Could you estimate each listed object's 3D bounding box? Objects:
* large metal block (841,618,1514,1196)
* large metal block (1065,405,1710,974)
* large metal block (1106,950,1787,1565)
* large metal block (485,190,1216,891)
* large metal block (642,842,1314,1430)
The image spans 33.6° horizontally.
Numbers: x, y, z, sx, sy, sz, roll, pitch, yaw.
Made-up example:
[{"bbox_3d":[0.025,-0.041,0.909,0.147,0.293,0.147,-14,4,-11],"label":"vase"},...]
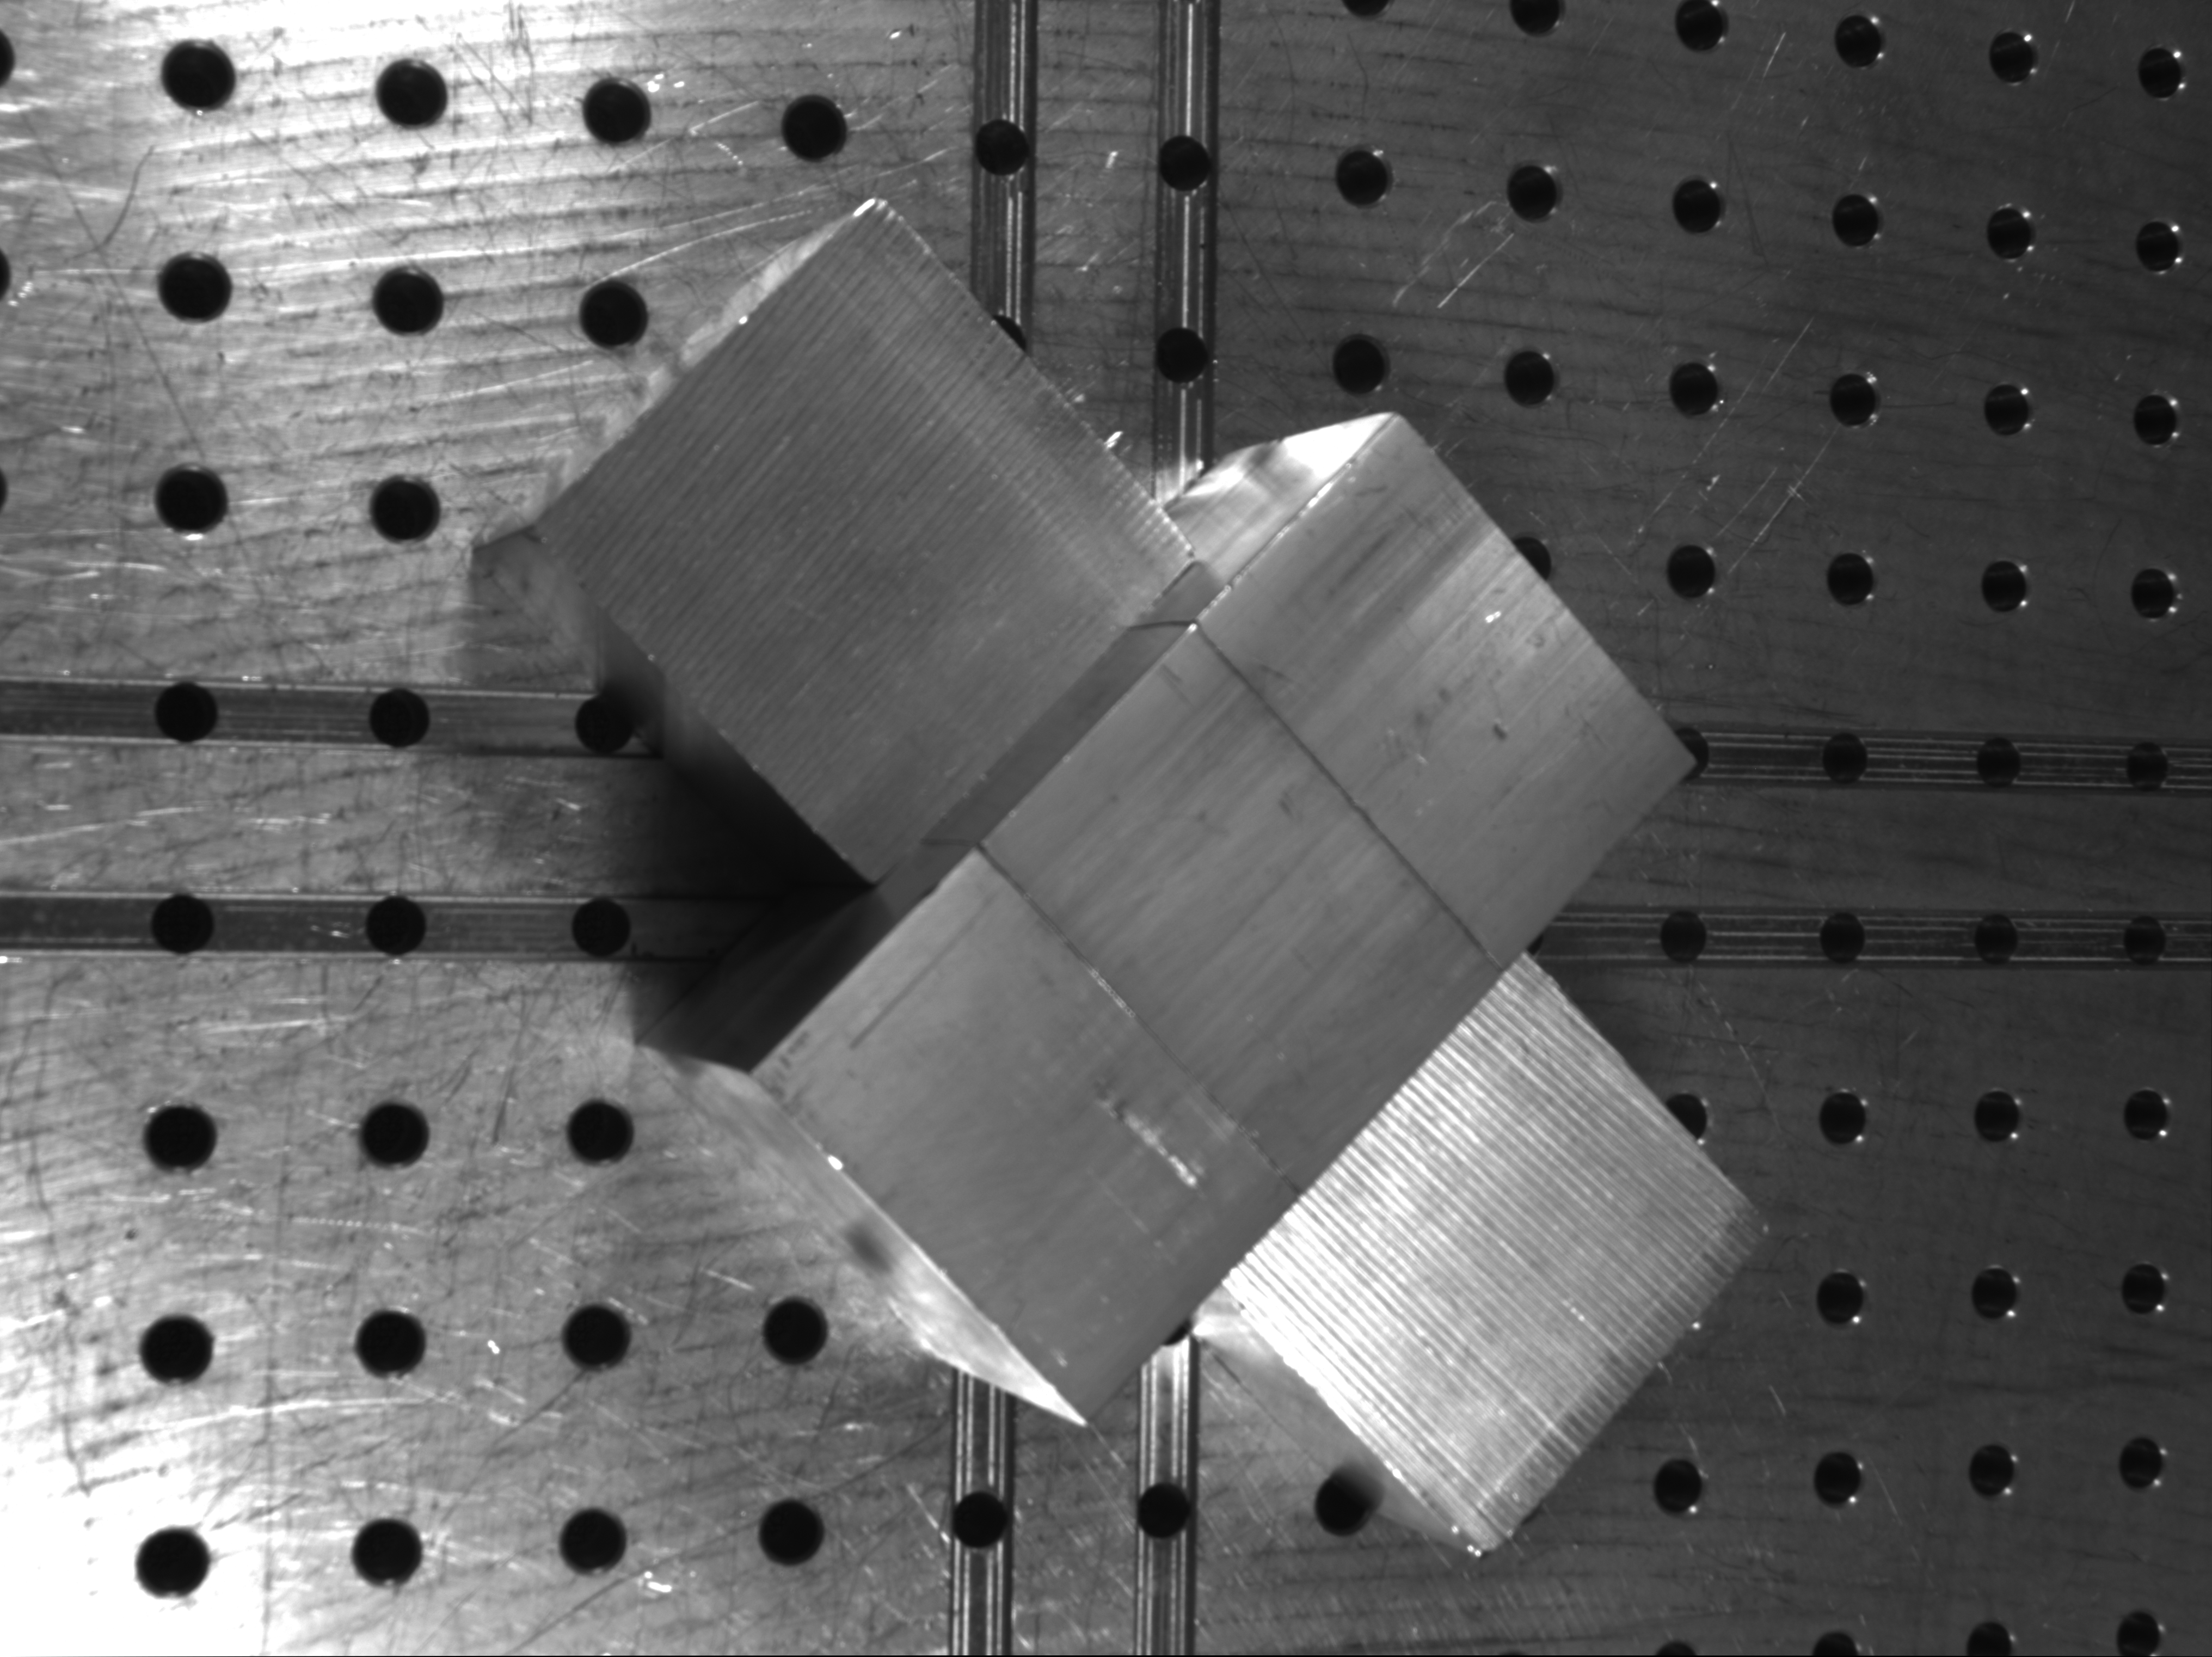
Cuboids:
[{"bbox_3d":[0.010,0.013,0.621,0.050,0.080,0.080,-46,104,-14],"label":"large metal block"},{"bbox_3d":[0.044,-0.022,0.633,0.050,0.080,0.080,-46,104,-14],"label":"large metal block"},{"bbox_3d":[0.059,0.070,0.654,0.080,0.050,0.080,-45,104,-13],"label":"large metal block"},{"bbox_3d":[-0.043,-0.047,0.614,0.080,0.050,0.080,-47,104,-13],"label":"large metal block"},{"bbox_3d":[-0.023,0.048,0.609,0.050,0.080,0.080,-46,104,-14],"label":"large metal block"}]
